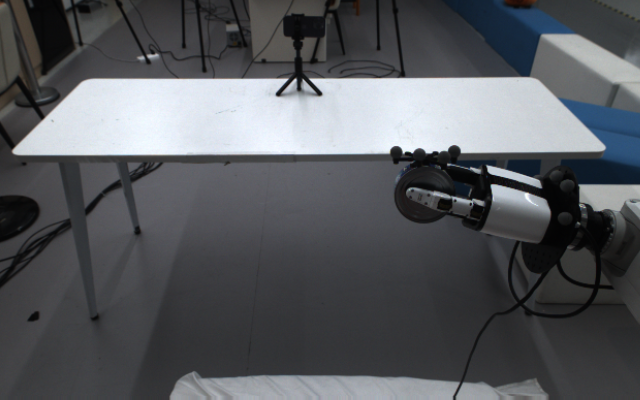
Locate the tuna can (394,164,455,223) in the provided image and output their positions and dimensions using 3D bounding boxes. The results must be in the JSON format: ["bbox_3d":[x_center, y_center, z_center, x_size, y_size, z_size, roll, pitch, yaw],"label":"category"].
[{"bbox_3d":[0.150,-0.013,0.695,0.085,0.085,0.034,4,18,3],"label":"tuna can"}]
